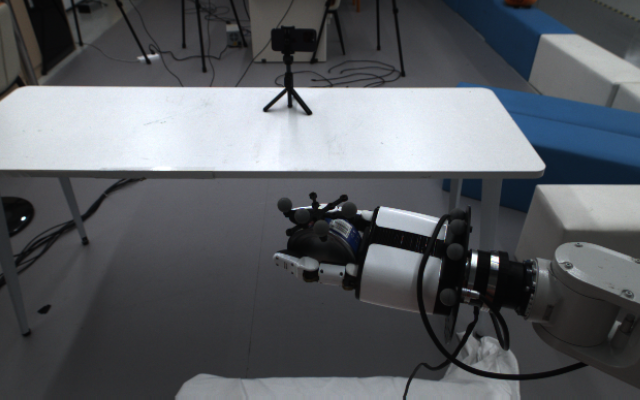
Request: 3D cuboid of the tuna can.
[{"bbox_3d":[0.009,0.055,0.577,0.085,0.085,0.034,14,41,16],"label":"tuna can"}]
